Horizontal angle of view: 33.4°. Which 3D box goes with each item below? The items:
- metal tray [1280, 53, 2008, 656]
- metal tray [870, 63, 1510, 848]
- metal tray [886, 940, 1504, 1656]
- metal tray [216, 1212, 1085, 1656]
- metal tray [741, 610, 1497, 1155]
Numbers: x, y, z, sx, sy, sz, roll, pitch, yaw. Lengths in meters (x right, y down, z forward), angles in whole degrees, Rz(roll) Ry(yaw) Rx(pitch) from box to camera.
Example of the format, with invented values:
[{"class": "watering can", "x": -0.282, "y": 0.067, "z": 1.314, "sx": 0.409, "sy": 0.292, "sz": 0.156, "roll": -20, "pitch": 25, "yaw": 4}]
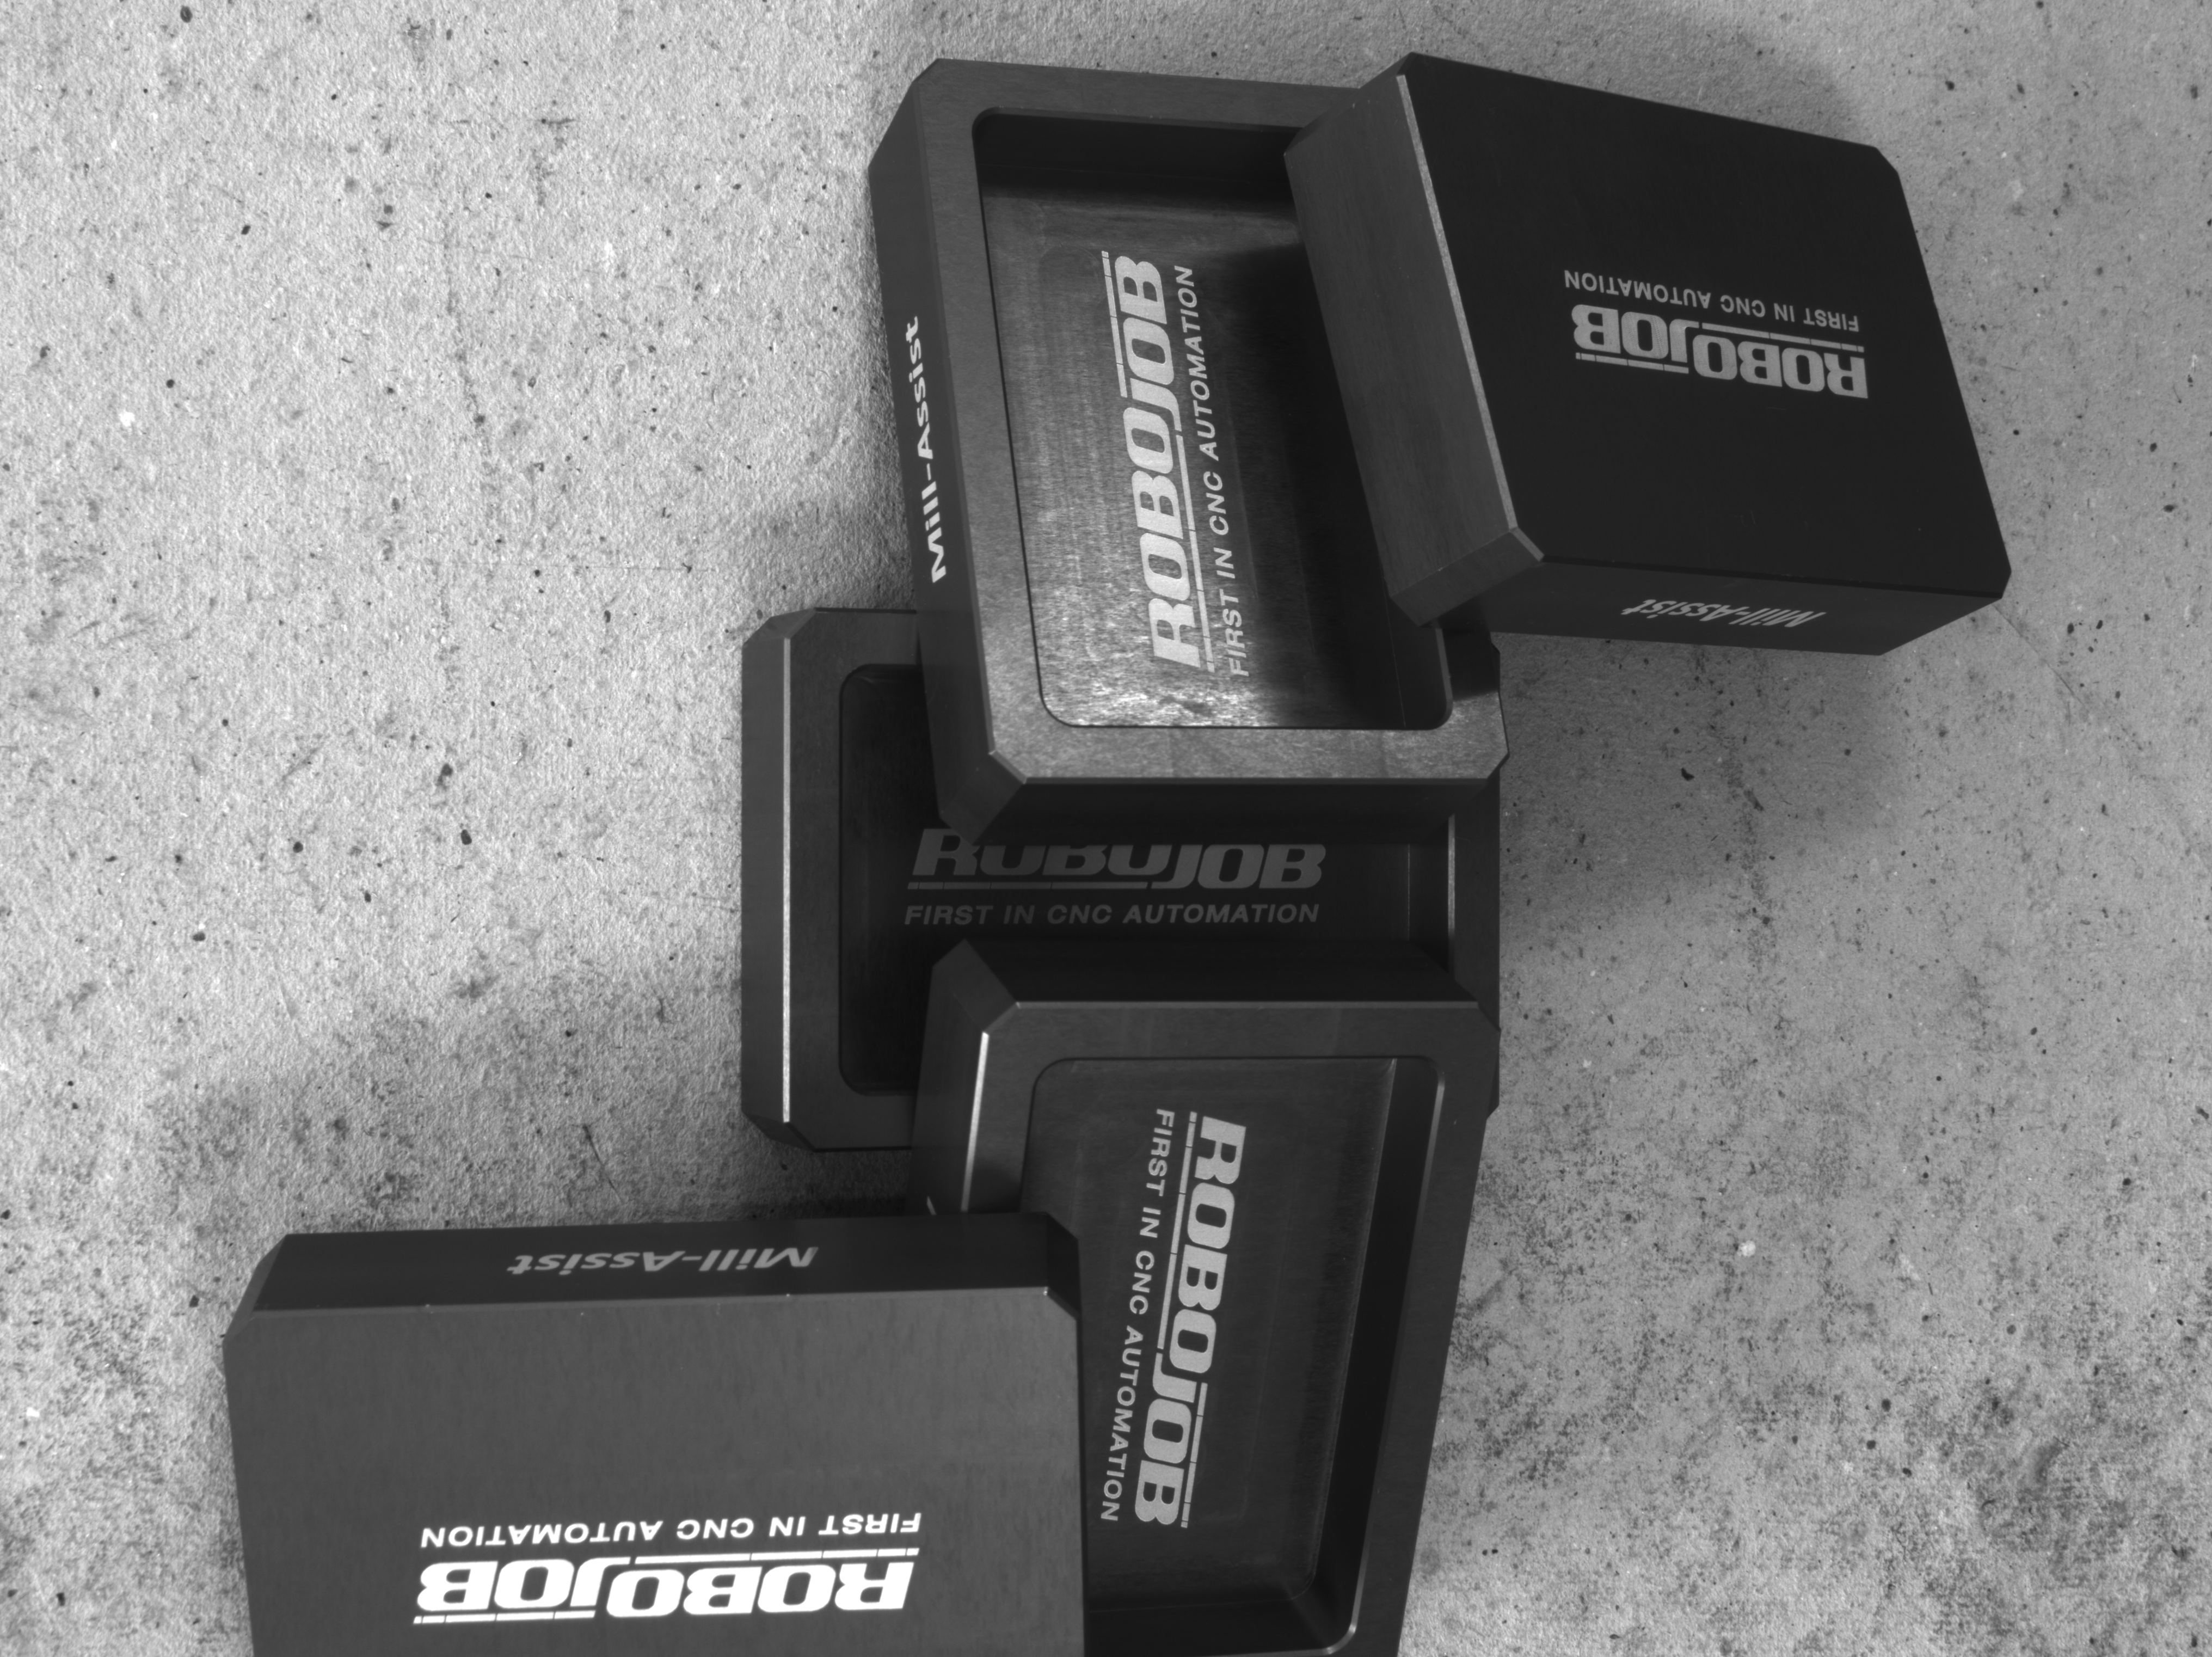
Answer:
[{"class": "metal tray", "x": 0.096, "y": -0.080, "z": 0.642, "sx": 0.130, "sy": 0.030, "sz": 0.090, "roll": 1, "pitch": 70, "yaw": -40}, {"class": "metal tray", "x": 0.013, "y": -0.063, "z": 0.624, "sx": 0.090, "sy": 0.030, "sz": 0.130, "roll": 0, "pitch": 70, "yaw": -20}, {"class": "metal tray", "x": 0.011, "y": 0.085, "z": 0.624, "sx": 0.090, "sy": 0.030, "sz": 0.130, "roll": 1, "pitch": 108, "yaw": -20}, {"class": "metal tray", "x": -0.069, "y": 0.110, "z": 0.585, "sx": 0.130, "sy": 0.030, "sz": 0.090, "roll": -2, "pitch": 107, "yaw": -2}, {"class": "metal tray", "x": 0.003, "y": 0.009, "z": 0.642, "sx": 0.130, "sy": 0.030, "sz": 0.090, "roll": 0, "pitch": 90, "yaw": -20}]
